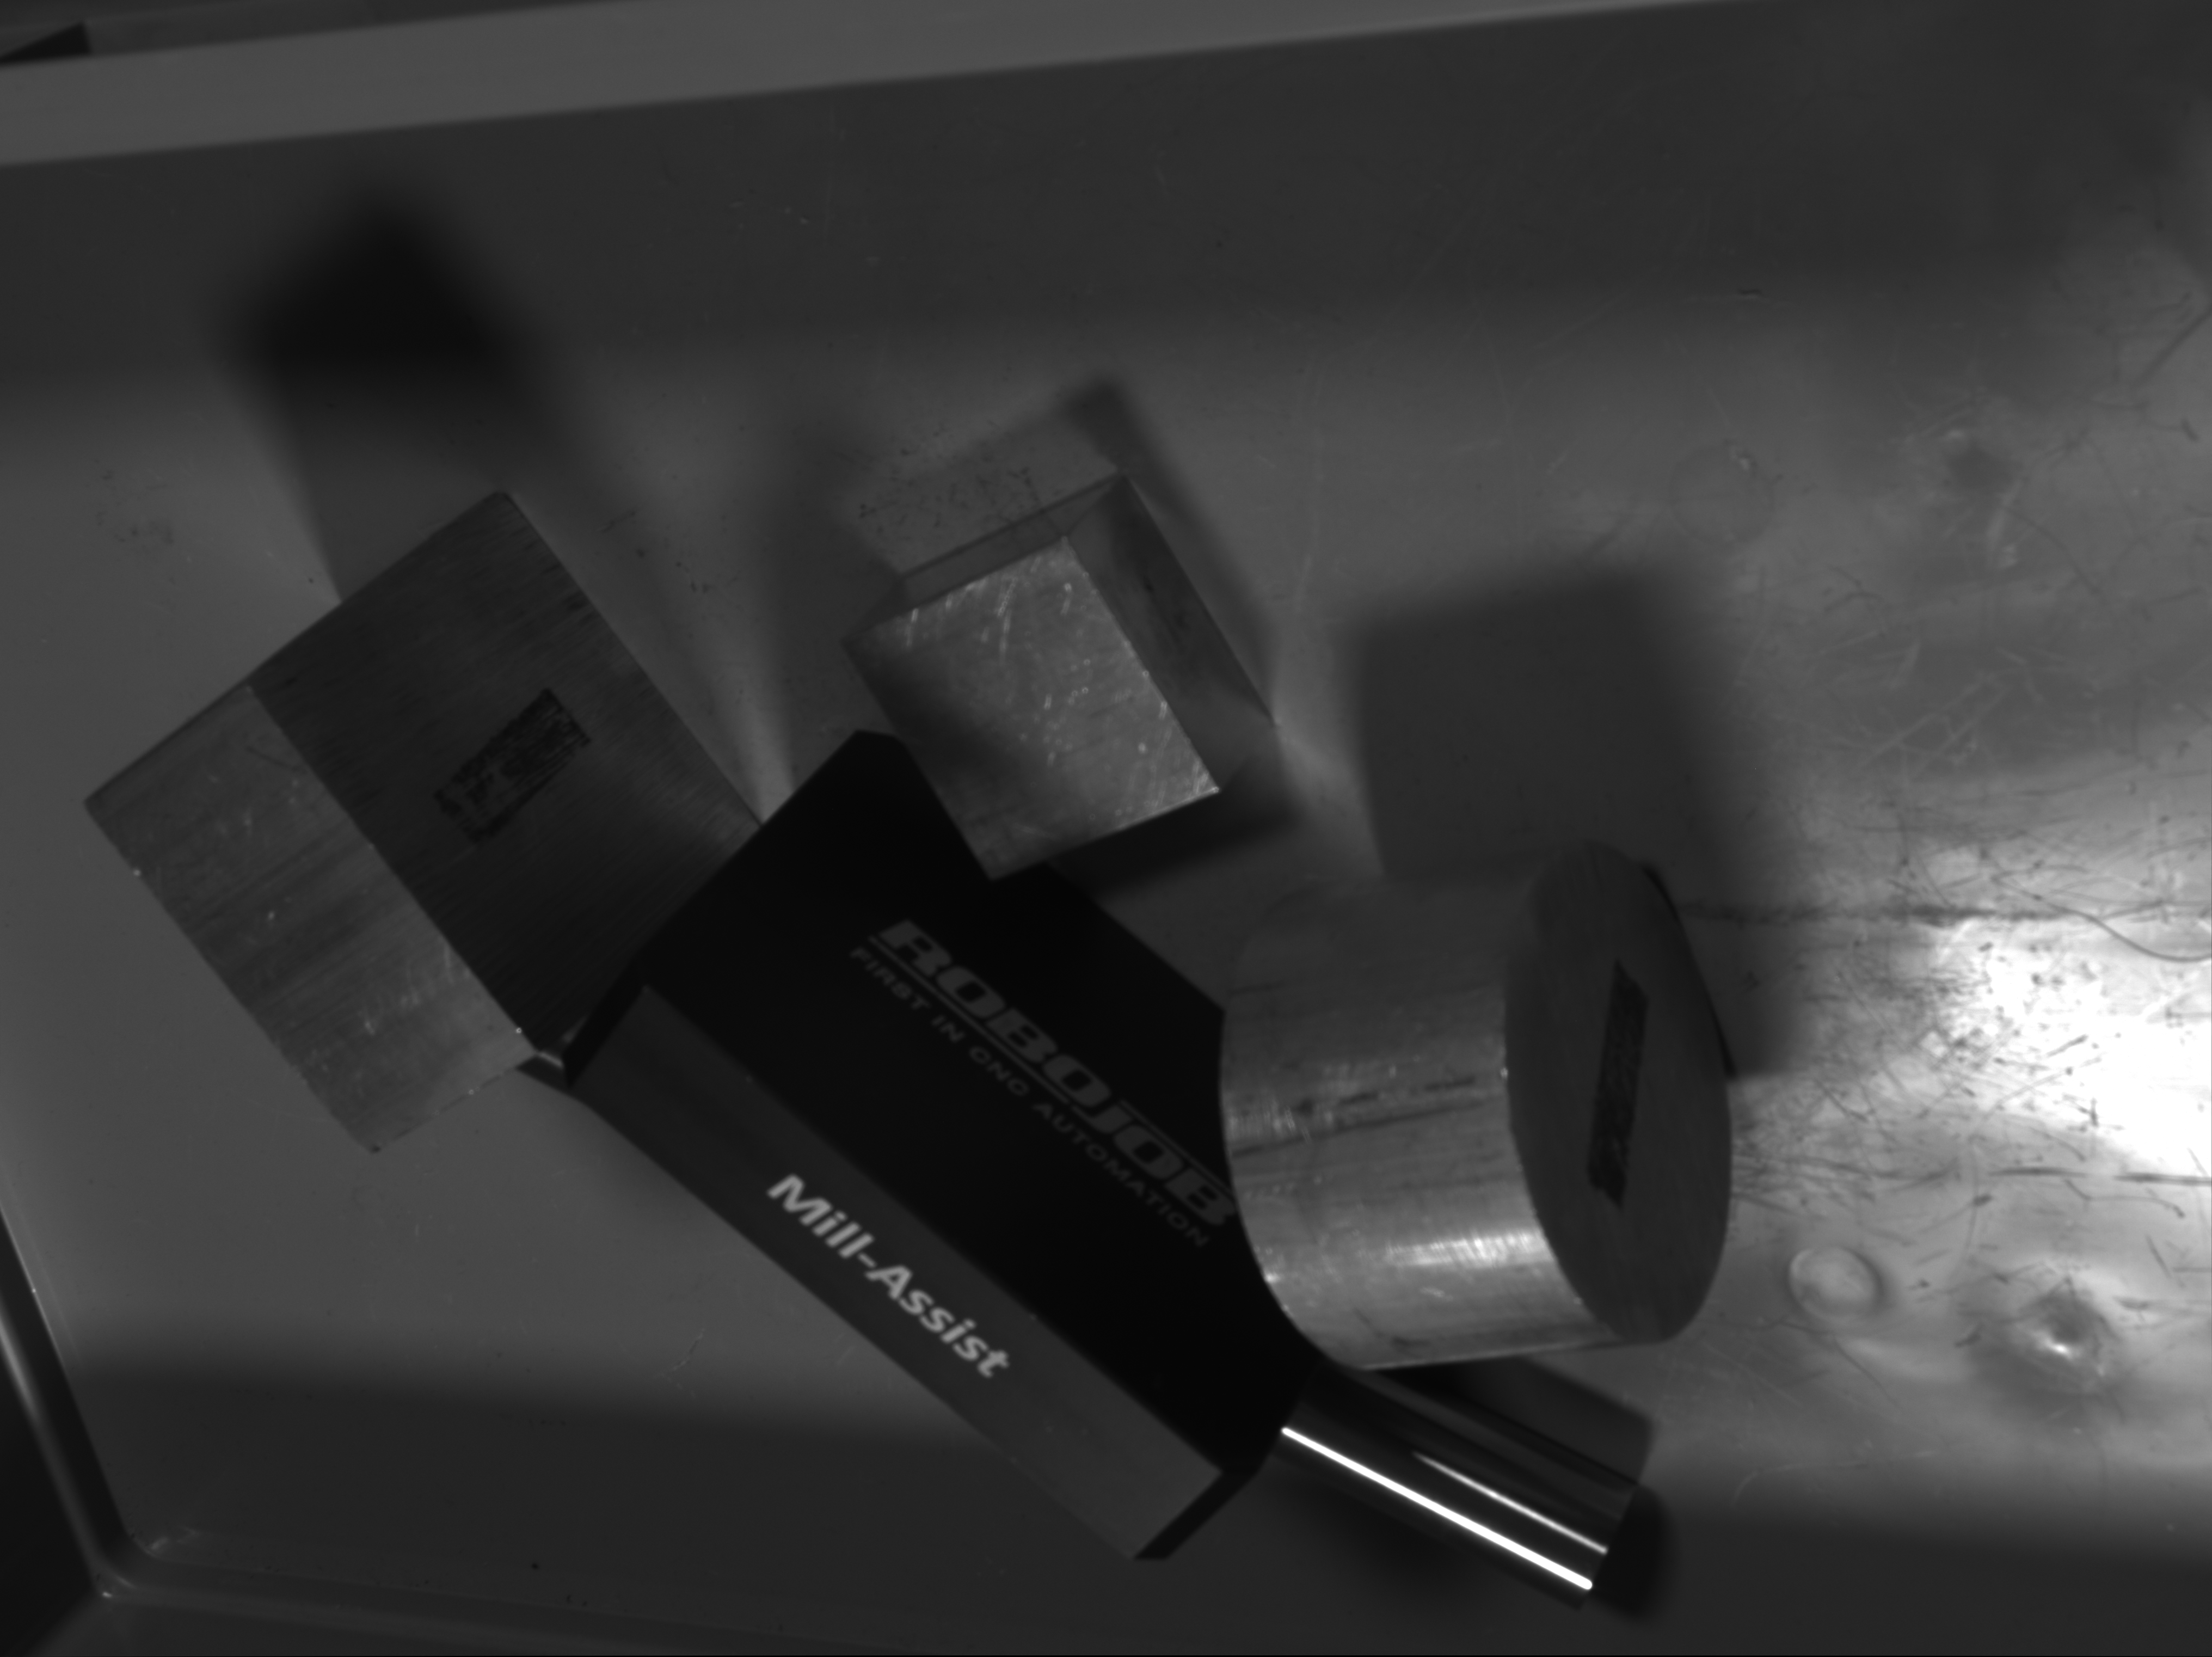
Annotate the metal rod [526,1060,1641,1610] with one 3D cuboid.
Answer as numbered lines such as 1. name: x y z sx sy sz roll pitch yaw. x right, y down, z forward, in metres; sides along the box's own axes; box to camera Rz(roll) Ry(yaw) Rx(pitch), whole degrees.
1. metal rod: -0.041 0.067 0.691 0.300 0.025 0.025 26 127 11

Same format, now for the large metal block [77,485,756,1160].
1. large metal block: -0.120 -0.002 0.654 0.050 0.080 0.080 -29 103 36

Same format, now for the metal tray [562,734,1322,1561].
1. metal tray: -0.017 0.052 0.627 0.130 0.090 0.030 40 128 0

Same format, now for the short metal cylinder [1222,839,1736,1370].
1. short metal cylinder: 0.061 0.045 0.591 0.050 0.080 0.080 -12 113 33

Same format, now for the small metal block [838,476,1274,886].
1. small metal block: -0.008 -0.024 0.618 0.050 0.025 0.050 -22 107 34
